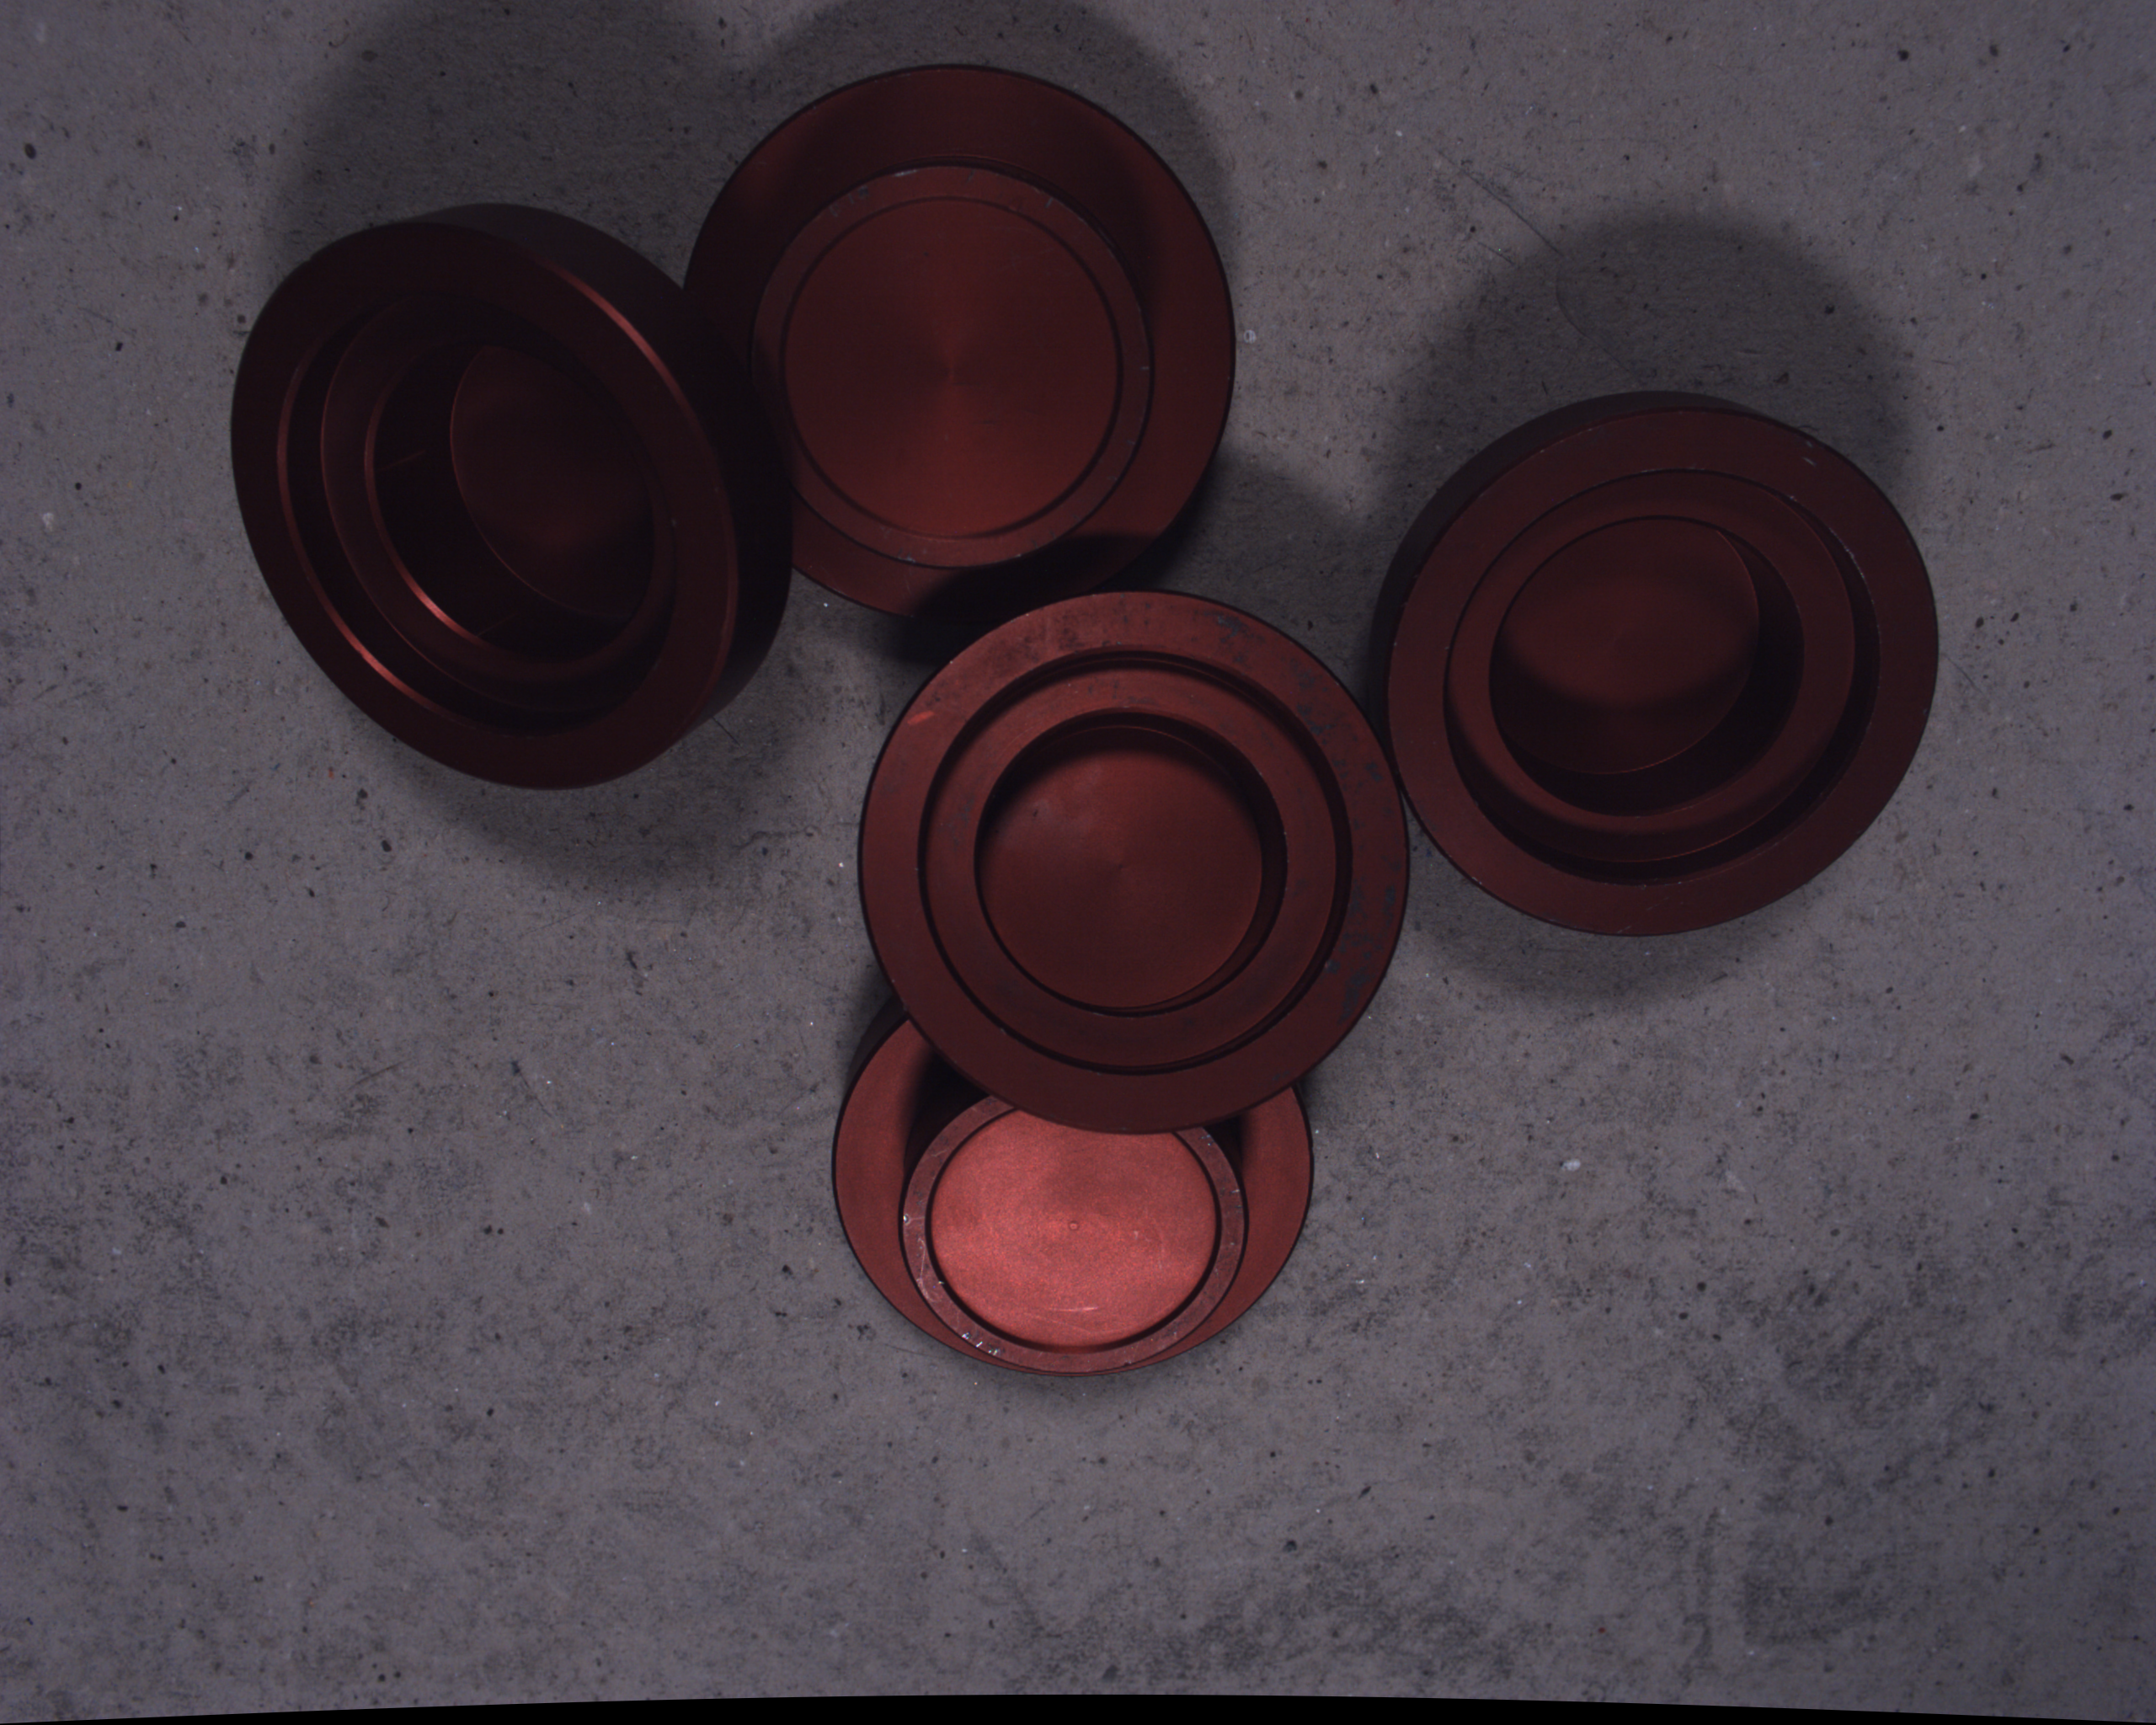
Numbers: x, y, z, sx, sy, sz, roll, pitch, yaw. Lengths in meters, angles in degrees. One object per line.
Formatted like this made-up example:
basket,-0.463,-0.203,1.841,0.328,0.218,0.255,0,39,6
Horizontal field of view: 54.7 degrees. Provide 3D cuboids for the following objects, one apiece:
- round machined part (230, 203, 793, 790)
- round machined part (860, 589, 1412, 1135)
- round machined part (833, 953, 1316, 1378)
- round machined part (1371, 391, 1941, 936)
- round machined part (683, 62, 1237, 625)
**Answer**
round machined part,-0.094,-0.065,0.365,0.098,0.042,0.097,10,119,18
round machined part,0.010,0.000,0.391,0.099,0.042,0.097,0,87,-3
round machined part,-0.001,0.064,0.425,0.099,0.042,0.097,0,110,-1
round machined part,0.104,-0.039,0.389,0.099,0.042,0.097,0,110,-1
round machined part,-0.021,-0.089,0.368,0.099,0.042,0.097,0,110,-1
